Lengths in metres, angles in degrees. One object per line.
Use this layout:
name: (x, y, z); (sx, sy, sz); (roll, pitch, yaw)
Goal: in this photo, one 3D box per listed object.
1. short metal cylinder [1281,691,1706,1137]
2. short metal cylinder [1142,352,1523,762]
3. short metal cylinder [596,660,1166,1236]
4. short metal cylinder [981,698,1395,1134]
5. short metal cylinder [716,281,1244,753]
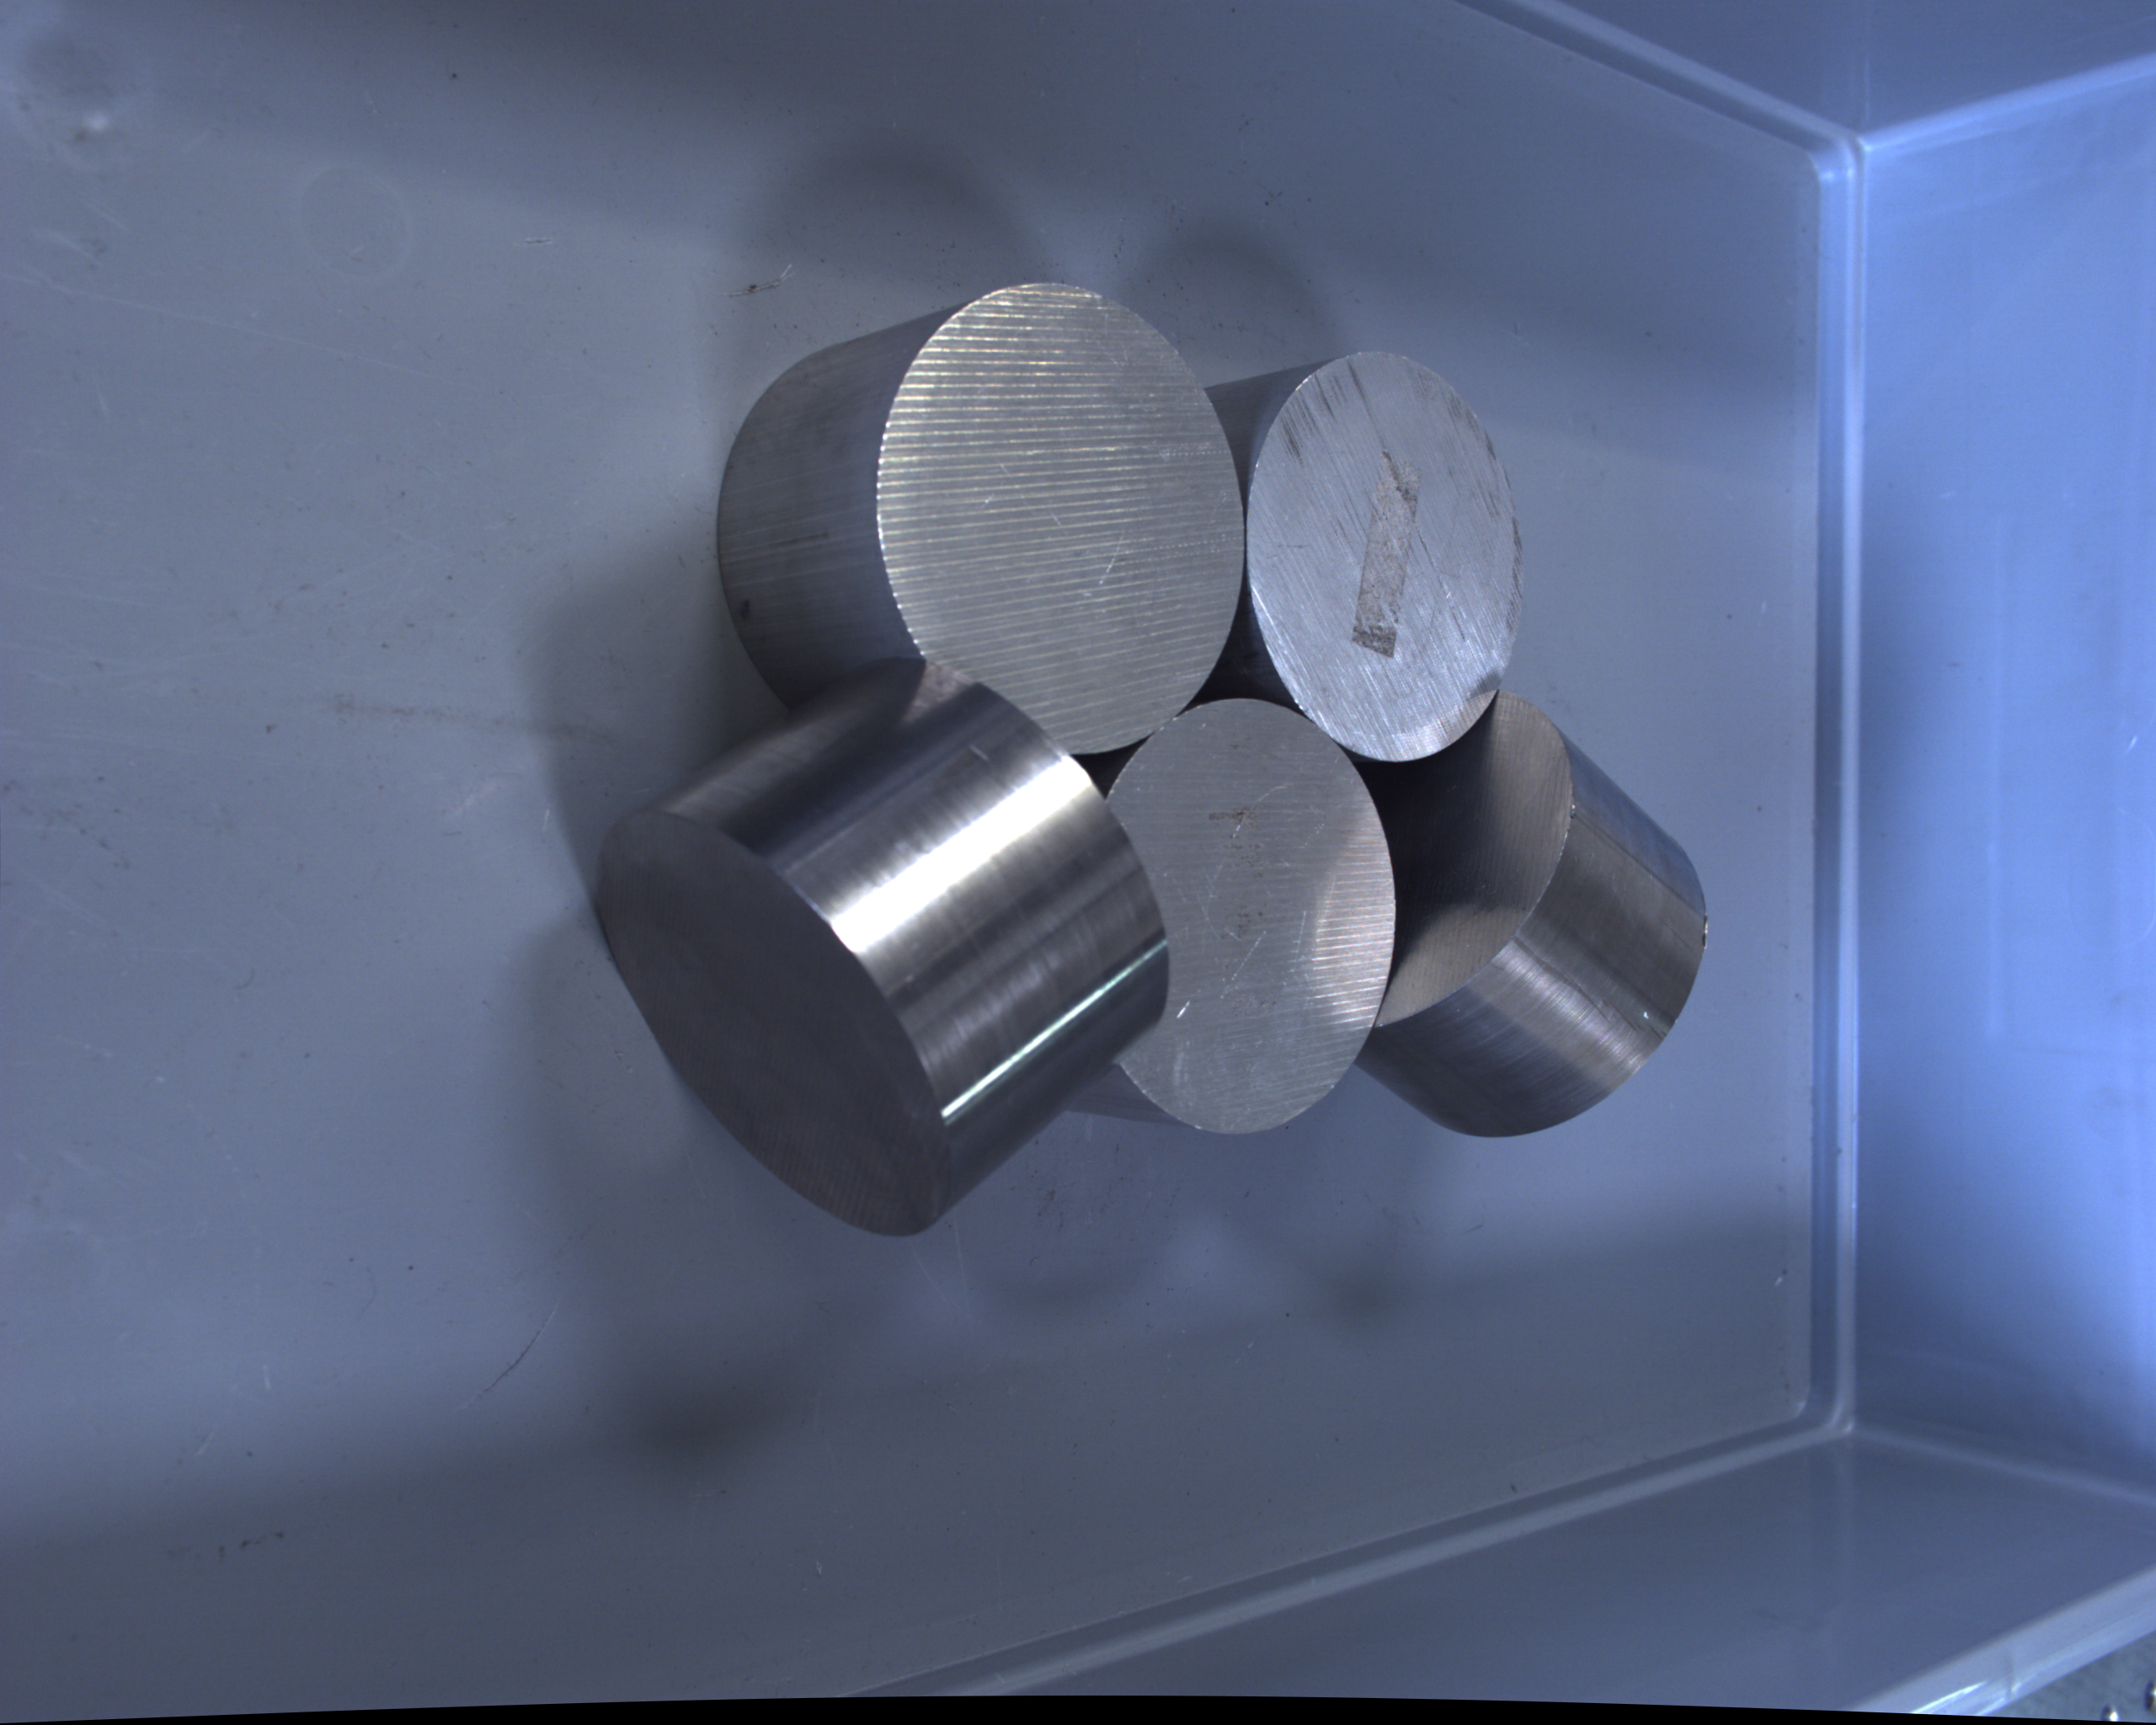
short metal cylinder: (0.082, 0.011, 0.437); (0.050, 0.080, 0.080); (37, 68, -34)
short metal cylinder: (0.045, -0.060, 0.426); (0.081, 0.050, 0.080); (0, 90, -40)
short metal cylinder: (-0.033, 0.014, 0.341); (0.050, 0.080, 0.080); (-38, 113, -34)
short metal cylinder: (0.015, 0.010, 0.401); (0.081, 0.050, 0.080); (0, 90, -40)
short metal cylinder: (-0.017, -0.059, 0.374); (0.081, 0.050, 0.080); (0, 90, -40)
